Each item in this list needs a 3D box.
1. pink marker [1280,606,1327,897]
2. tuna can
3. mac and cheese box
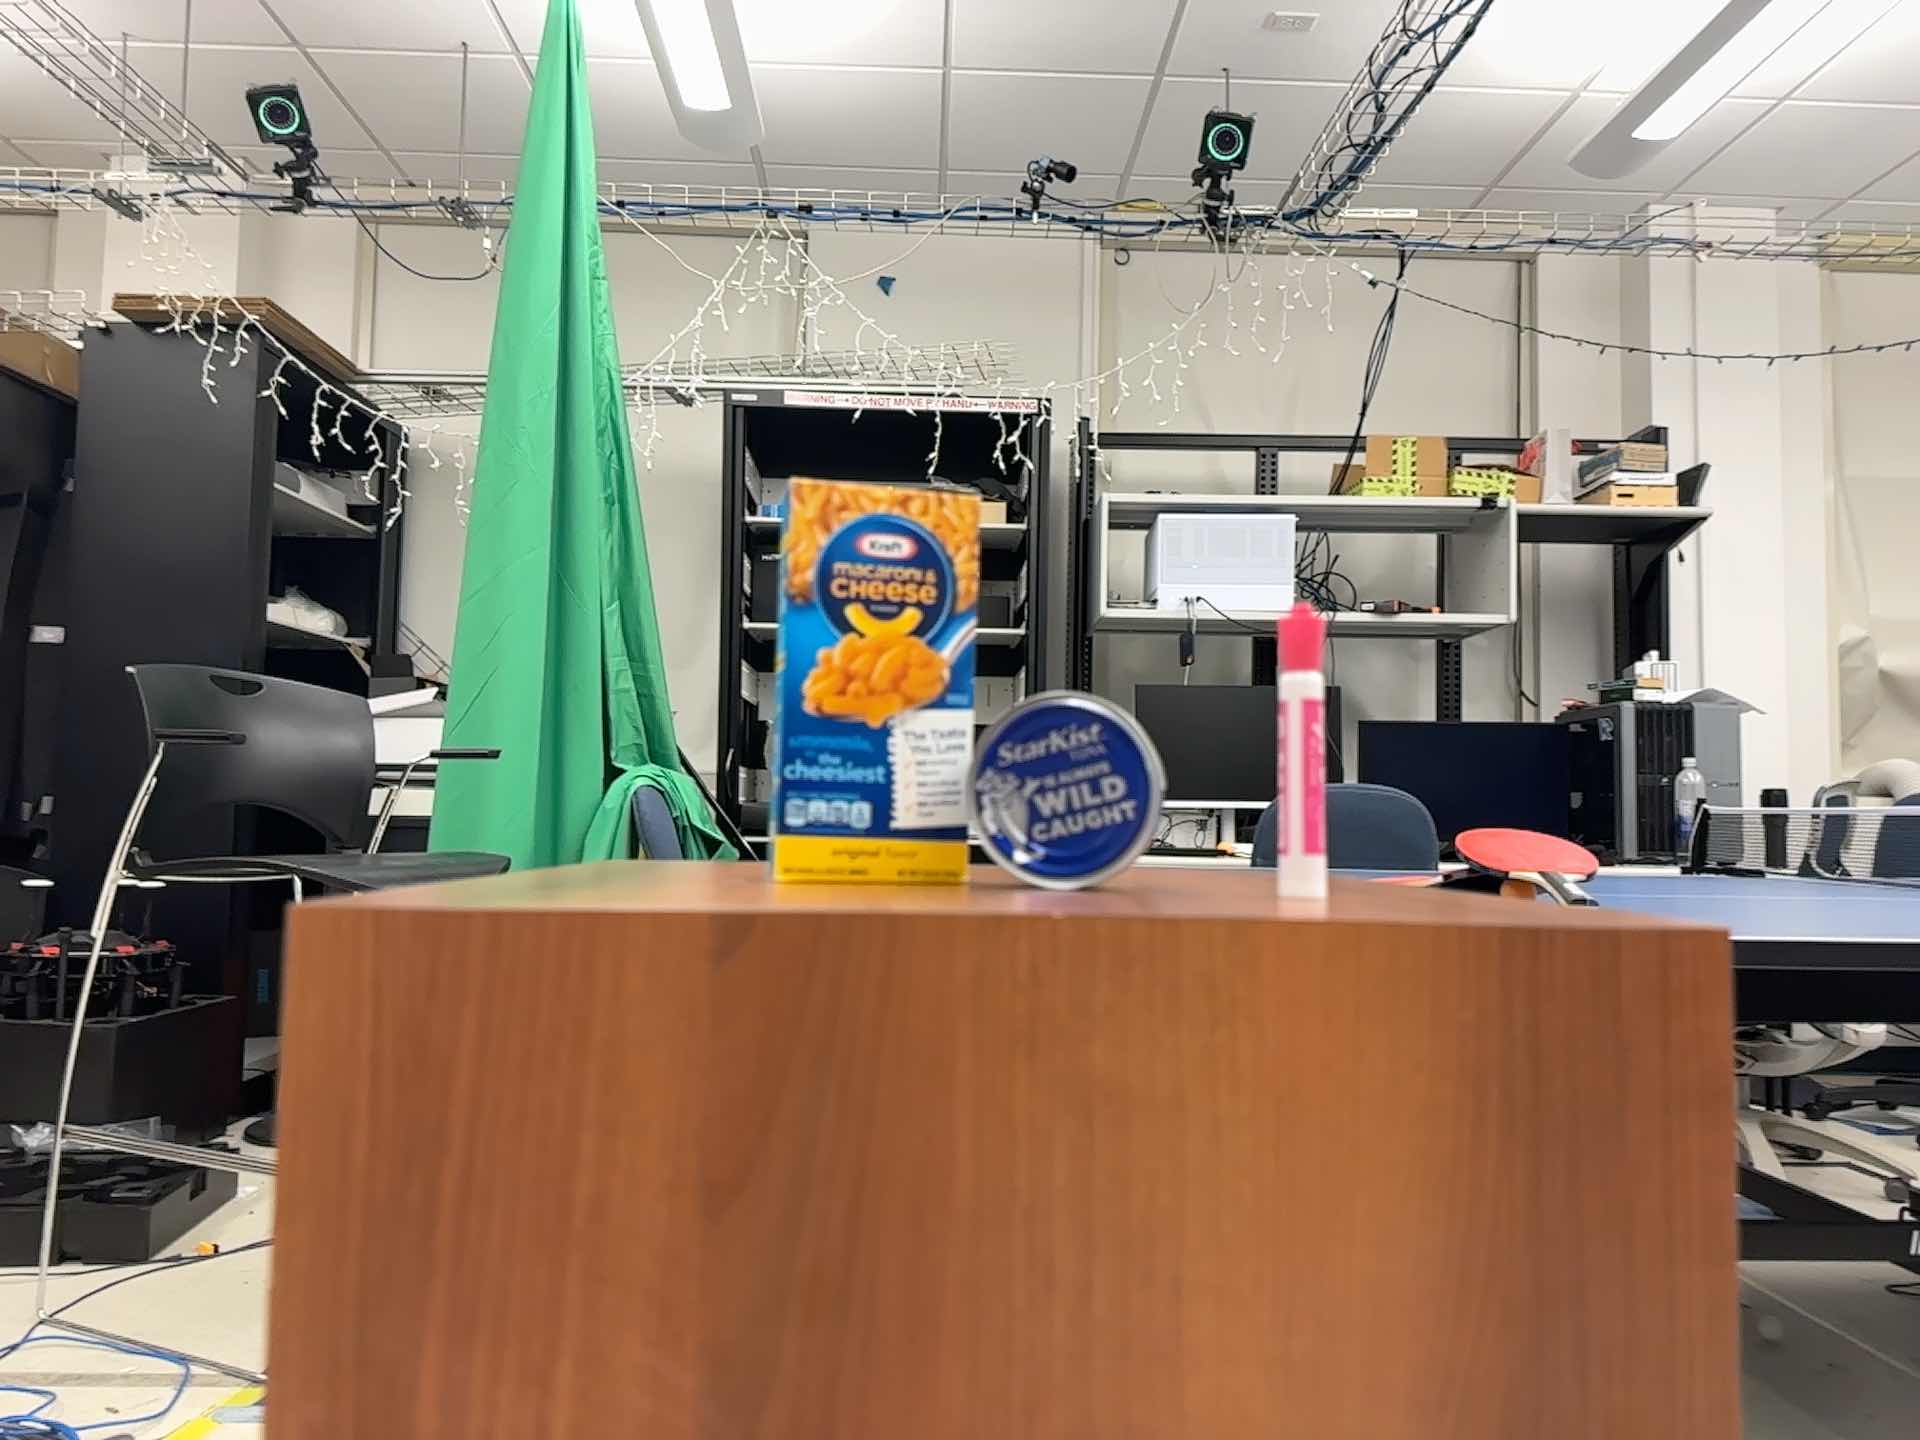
[{"bbox_3d":[0.144,0.013,0.564,0.020,0.121,0.020,0,-2,0],"label":"pink marker"},{"bbox_3d":[0.049,0.032,0.604,0.083,0.083,0.034,0,-3,16],"label":"tuna can"},{"bbox_3d":[-0.040,-0.016,0.630,0.088,0.181,0.035,1,-2,-10],"label":"mac and cheese box"}]
